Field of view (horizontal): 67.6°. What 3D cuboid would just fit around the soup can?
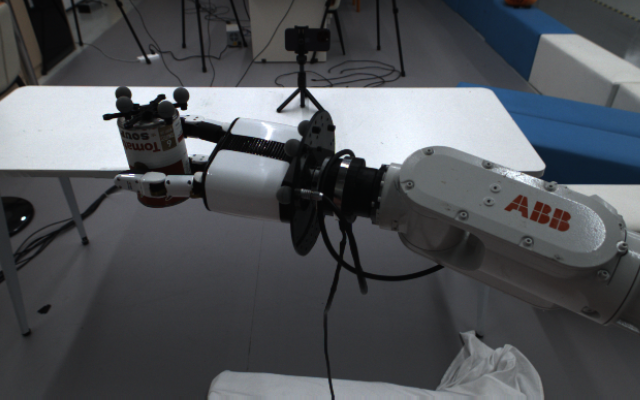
[{"bbox_3d":[-0.186,-0.050,0.560,0.067,0.101,0.067,-2,33,1],"label":"soup can"}]
